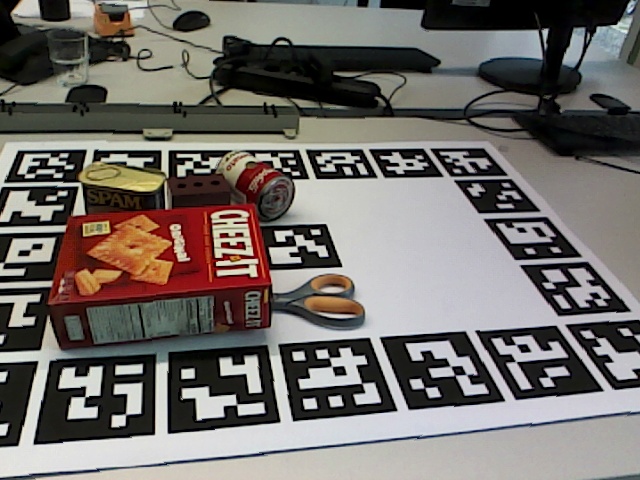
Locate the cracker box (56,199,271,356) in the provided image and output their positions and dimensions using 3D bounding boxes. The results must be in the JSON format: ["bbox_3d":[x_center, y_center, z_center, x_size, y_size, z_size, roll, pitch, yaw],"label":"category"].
[{"bbox_3d":[-0.174,0.031,0.688,0.213,0.072,0.165,-8,38,-13],"label":"cracker box"}]

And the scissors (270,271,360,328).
[{"bbox_3d":[-0.058,0.074,0.701,0.202,0.016,0.088,-5,38,-15],"label":"scissors"}]

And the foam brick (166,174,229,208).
[{"bbox_3d":[-0.167,-0.053,0.847,0.078,0.051,0.053,-8,39,-20],"label":"foam brick"}]

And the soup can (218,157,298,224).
[{"bbox_3d":[-0.091,-0.072,0.884,0.103,0.068,0.067,27,41,33],"label":"soup can"}]

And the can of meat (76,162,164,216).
[{"bbox_3d":[-0.252,-0.046,0.792,0.102,0.083,0.058,7,37,-1],"label":"can of meat"}]
